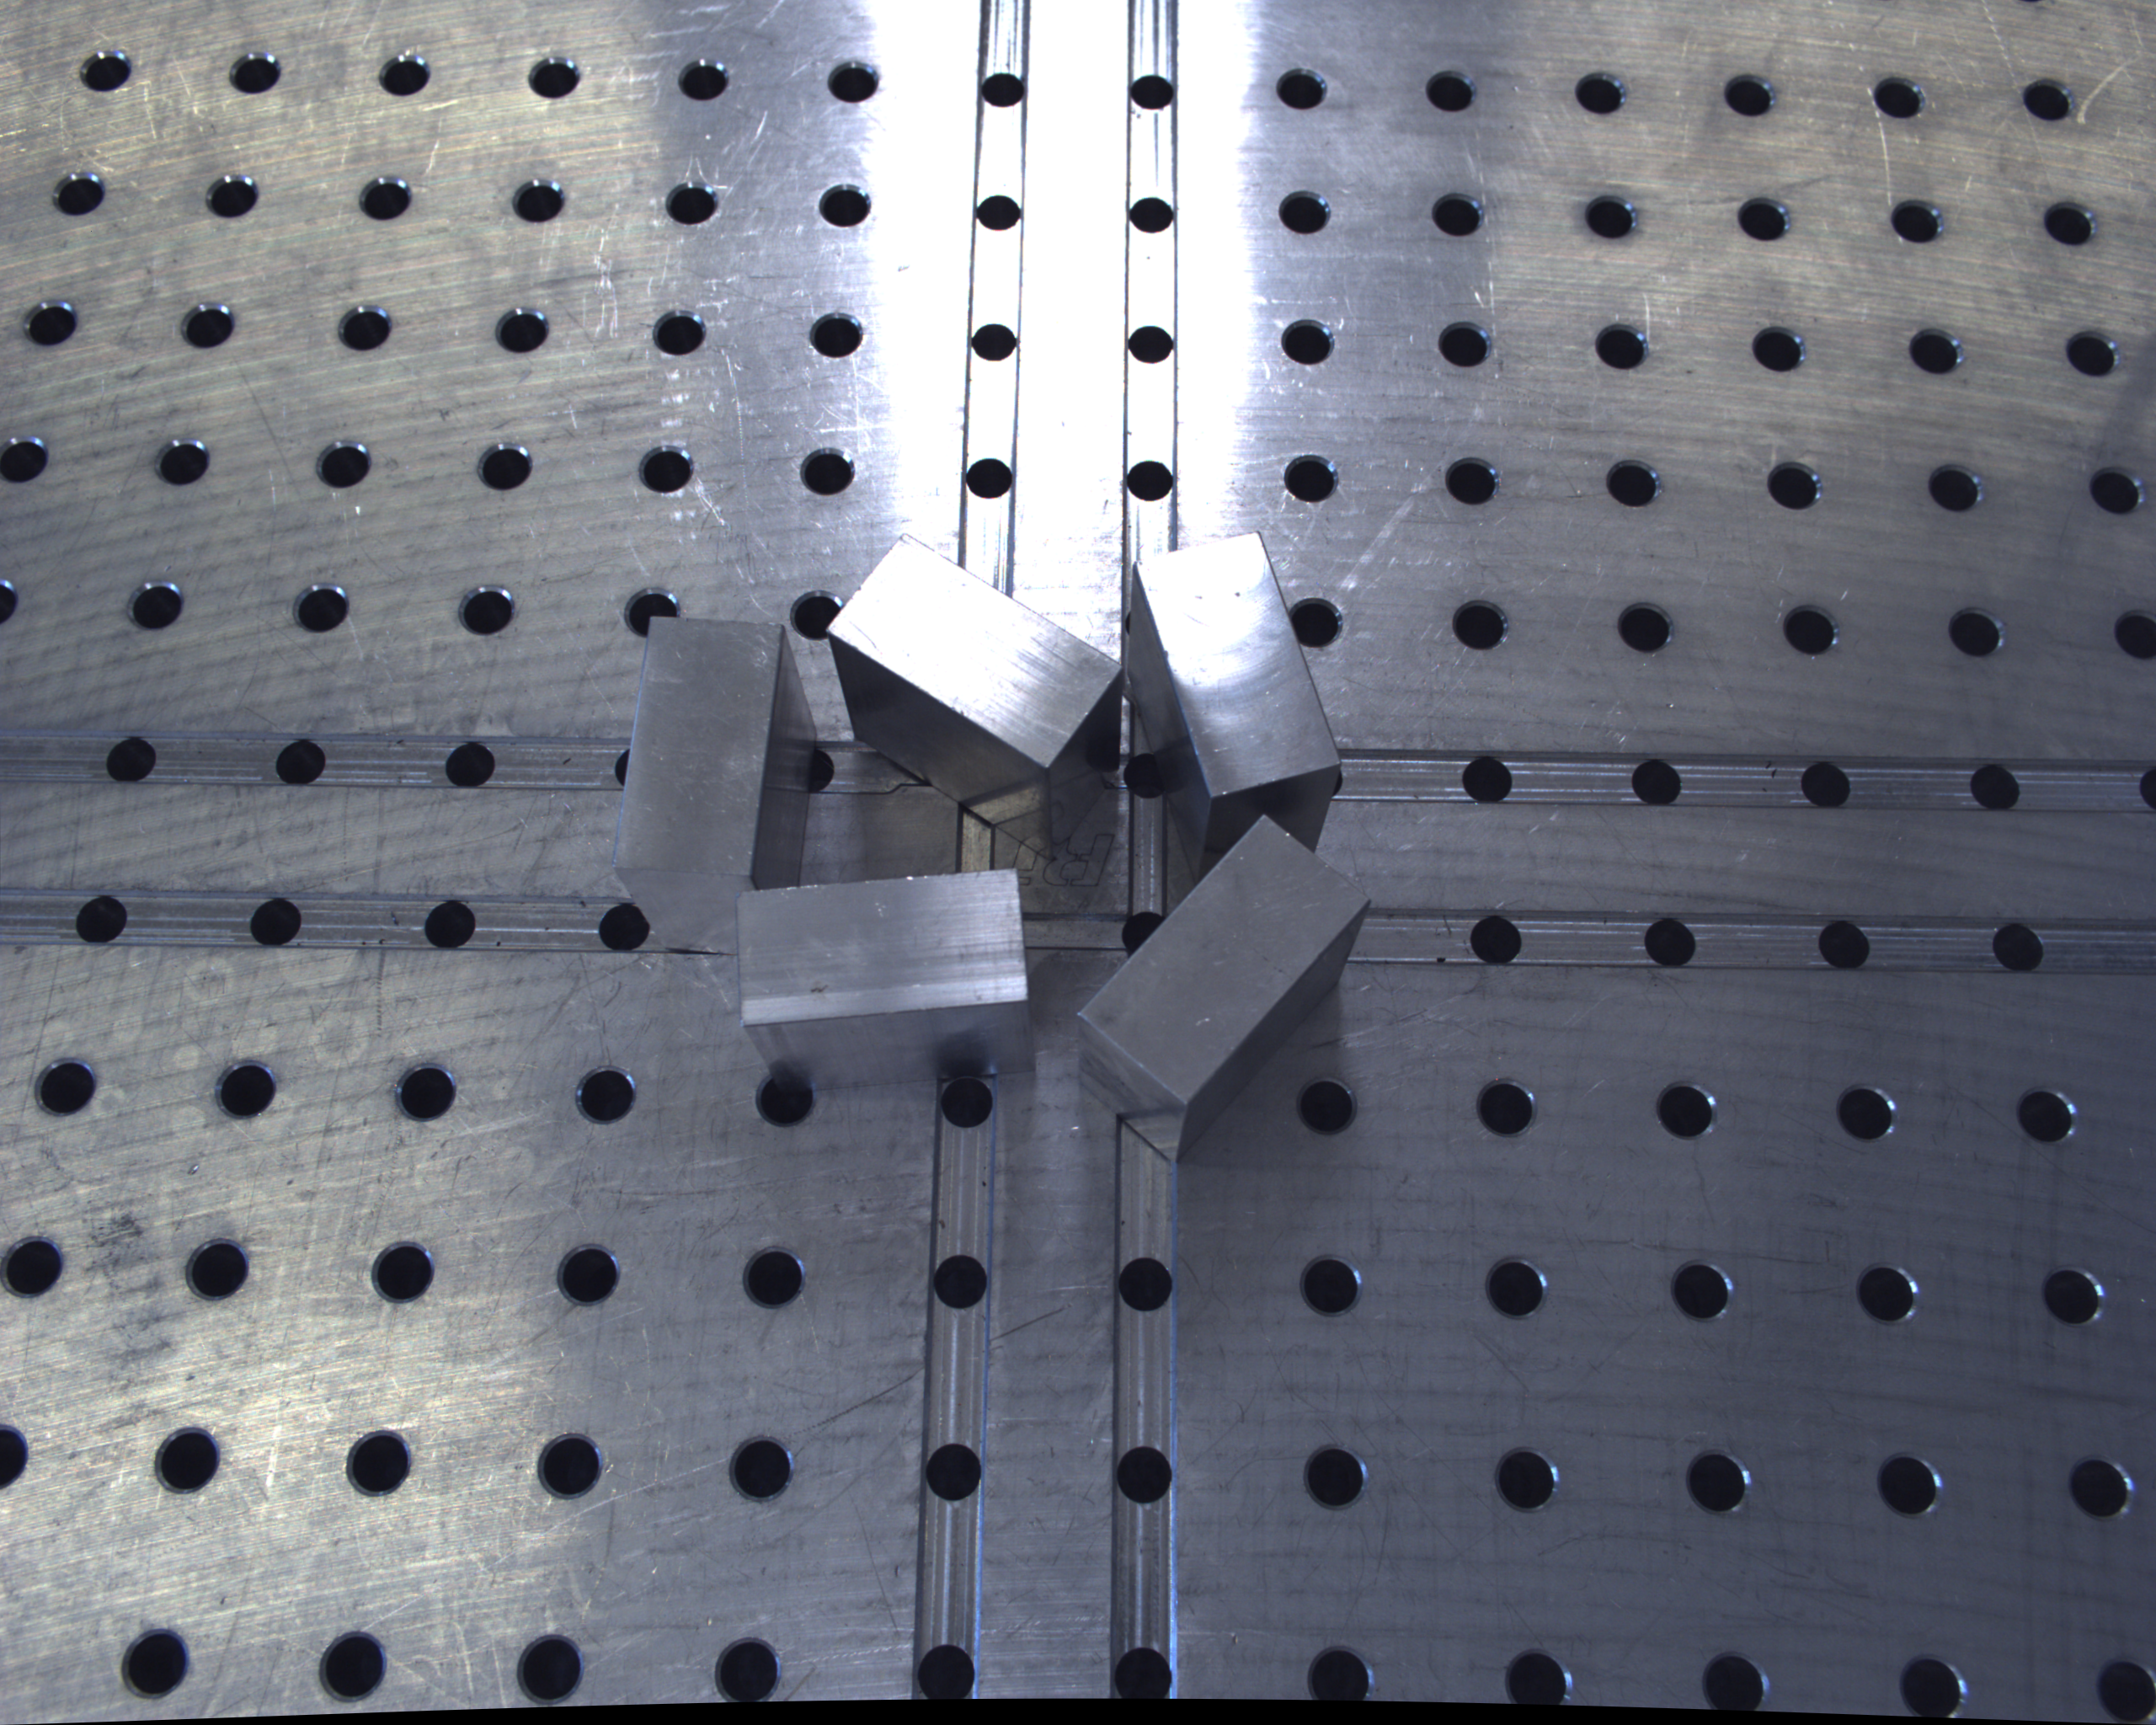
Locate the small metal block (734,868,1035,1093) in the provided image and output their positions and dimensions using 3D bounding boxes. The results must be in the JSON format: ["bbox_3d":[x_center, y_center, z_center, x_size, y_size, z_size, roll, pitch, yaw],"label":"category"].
[{"bbox_3d":[-0.035,0.023,0.390,0.050,0.050,0.025,-5,70,-2],"label":"small metal block"}]

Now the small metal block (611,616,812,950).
[{"bbox_3d":[-0.069,-0.014,0.403,0.025,0.050,0.050,3,71,1],"label":"small metal block"}]

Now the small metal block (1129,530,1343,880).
[{"bbox_3d":[0.029,-0.029,0.409,0.025,0.050,0.050,-15,70,-5],"label":"small metal block"}]

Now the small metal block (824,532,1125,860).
[{"bbox_3d":[-0.019,-0.031,0.410,0.050,0.050,0.025,32,74,10],"label":"small metal block"}]

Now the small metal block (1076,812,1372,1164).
[{"bbox_3d":[0.026,0.025,0.389,0.025,0.050,0.050,40,75,14],"label":"small metal block"}]
